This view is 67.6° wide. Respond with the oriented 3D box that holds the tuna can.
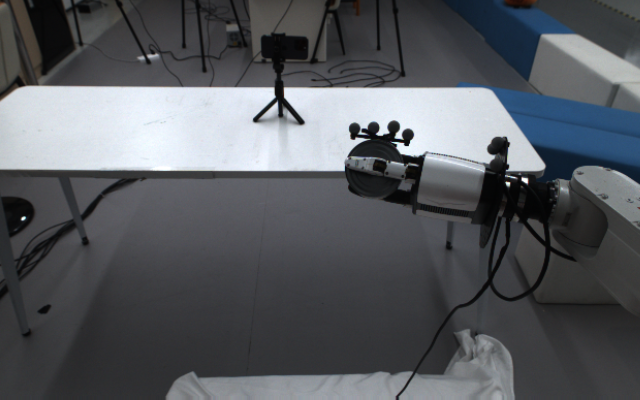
[{"bbox_3d":[0.081,-0.048,0.712,0.085,0.085,0.034,11,-7,13],"label":"tuna can"}]
